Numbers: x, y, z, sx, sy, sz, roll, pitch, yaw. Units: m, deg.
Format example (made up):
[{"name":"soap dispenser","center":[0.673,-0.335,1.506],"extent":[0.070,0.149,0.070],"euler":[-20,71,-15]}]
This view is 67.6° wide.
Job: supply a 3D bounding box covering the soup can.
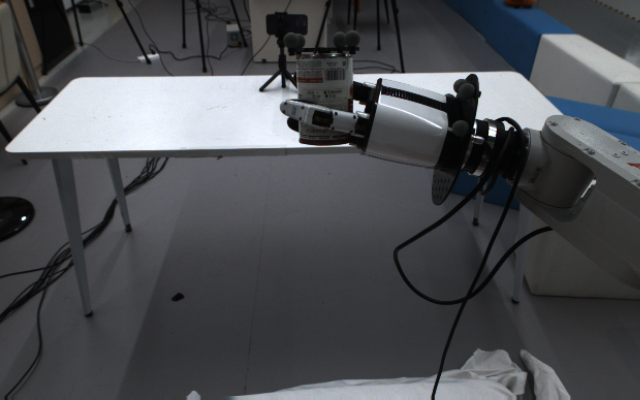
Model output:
[{"name":"soup can","center":[0.008,-0.120,0.573],"extent":[0.067,0.101,0.067],"euler":[-1,17,0]}]
